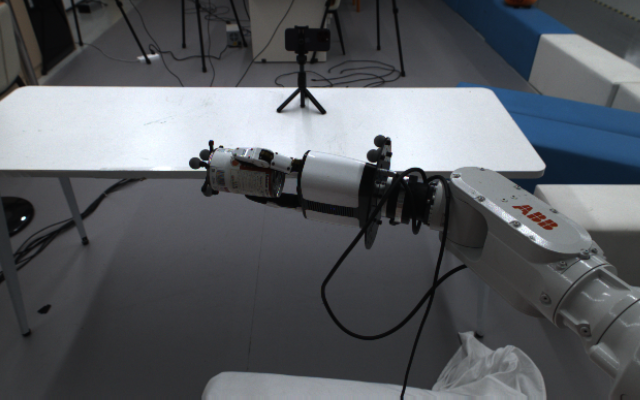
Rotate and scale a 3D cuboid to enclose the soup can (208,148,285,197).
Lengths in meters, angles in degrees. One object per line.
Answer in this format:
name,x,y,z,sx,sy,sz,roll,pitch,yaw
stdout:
soup can,-0.108,-0.040,0.725,0.101,0.067,0.067,7,35,10
